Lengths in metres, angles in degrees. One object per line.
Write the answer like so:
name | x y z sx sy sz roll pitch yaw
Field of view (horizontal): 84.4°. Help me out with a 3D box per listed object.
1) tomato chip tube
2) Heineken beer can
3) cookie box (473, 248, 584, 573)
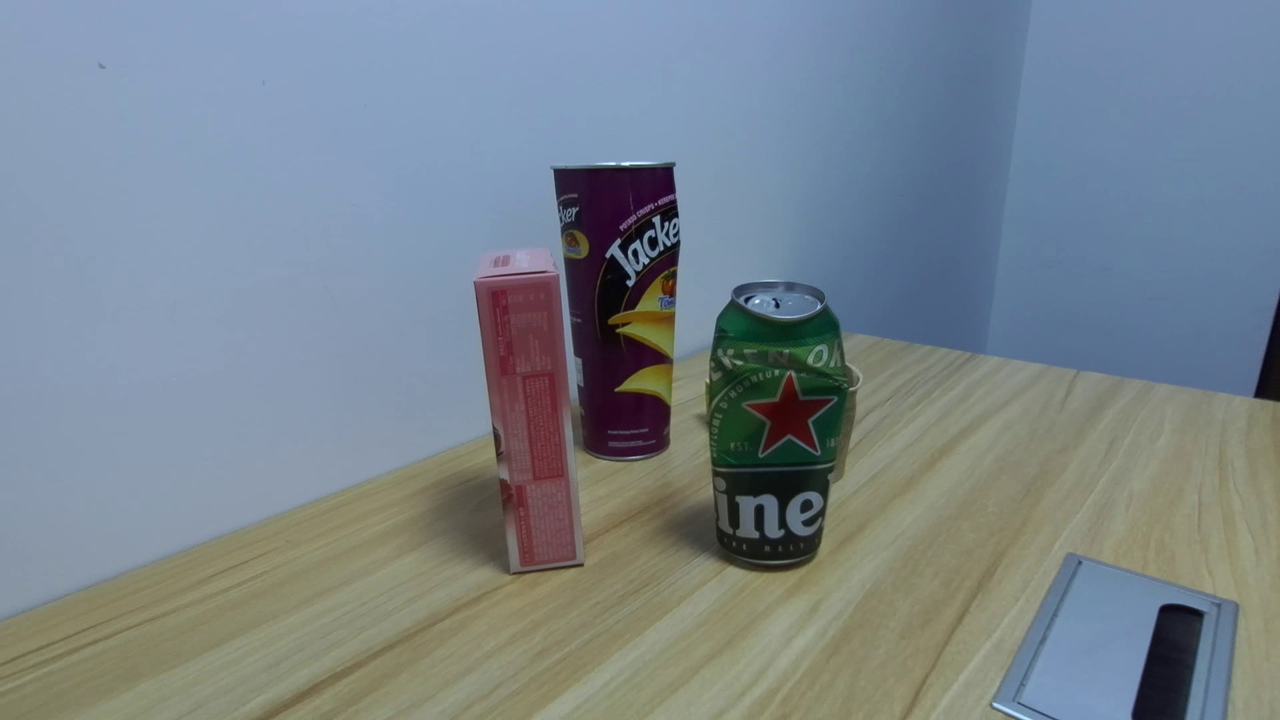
tomato chip tube | -0.015 -0.040 0.582 0.077 0.235 0.076 13 22 42
Heineken beer can | 0.080 0.041 0.424 0.068 0.168 0.069 15 27 37
cookie box | -0.066 0.030 0.450 0.048 0.184 0.096 -5 18 -7
